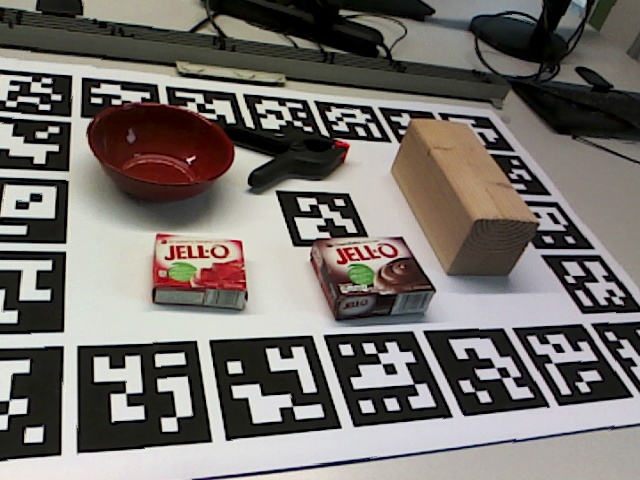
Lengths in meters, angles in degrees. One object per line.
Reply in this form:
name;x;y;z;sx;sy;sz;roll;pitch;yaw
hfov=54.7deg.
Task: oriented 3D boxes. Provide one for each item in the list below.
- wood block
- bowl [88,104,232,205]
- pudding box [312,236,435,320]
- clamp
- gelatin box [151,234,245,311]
wood block;0.180;-0.058;0.795;0.089;0.091;0.207;3;43;-20
bowl;-0.187;-0.091;0.724;0.161;0.055;0.162;12;43;-12
pudding box;0.056;0.040;0.677;0.113;0.038;0.090;-2;48;-20
clamp;-0.051;-0.111;0.817;0.164;0.036;0.122;-7;46;-30
gelatin box;-0.121;0.031;0.620;0.089;0.030;0.073;6;43;-15
